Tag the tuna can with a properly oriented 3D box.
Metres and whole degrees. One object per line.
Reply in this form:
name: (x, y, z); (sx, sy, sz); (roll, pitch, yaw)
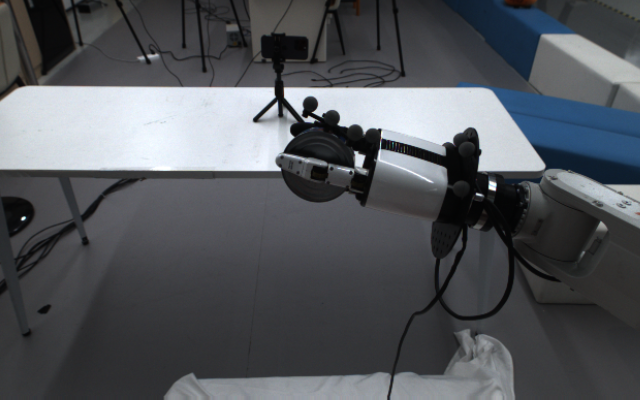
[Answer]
tuna can: (0.001, -0.043, 0.573); (0.085, 0.085, 0.034); (7, 16, 6)
